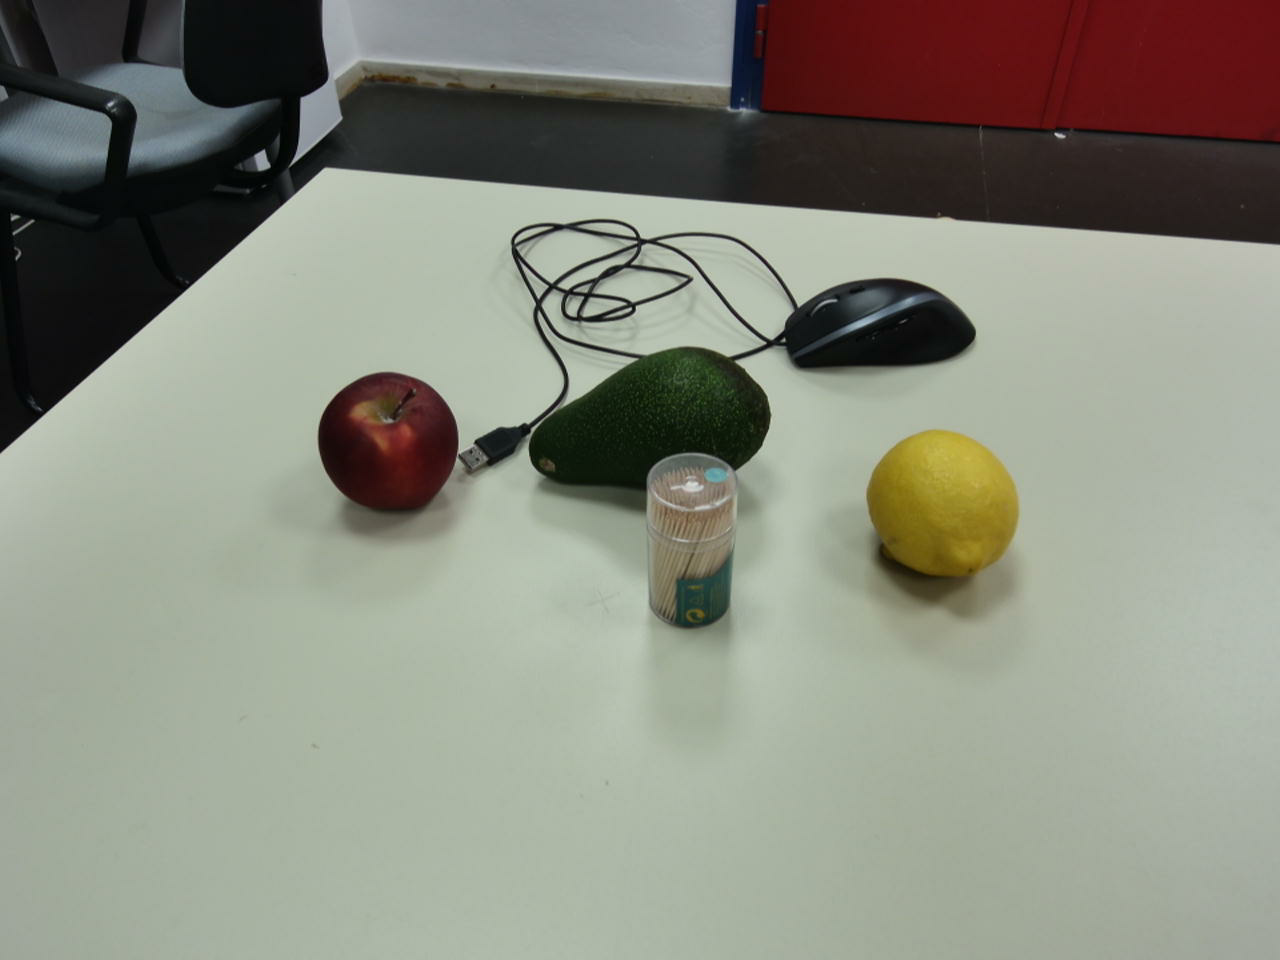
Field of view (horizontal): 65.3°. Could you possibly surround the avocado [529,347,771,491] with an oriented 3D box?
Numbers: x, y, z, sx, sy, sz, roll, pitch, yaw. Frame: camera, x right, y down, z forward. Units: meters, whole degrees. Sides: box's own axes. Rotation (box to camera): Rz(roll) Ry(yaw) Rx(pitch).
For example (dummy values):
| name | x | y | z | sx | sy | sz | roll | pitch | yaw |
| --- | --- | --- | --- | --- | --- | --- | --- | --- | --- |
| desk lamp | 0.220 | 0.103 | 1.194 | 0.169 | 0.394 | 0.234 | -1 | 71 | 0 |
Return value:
| name | x | y | z | sx | sy | sz | roll | pitch | yaw |
| --- | --- | --- | --- | --- | --- | --- | --- | --- | --- |
| avocado | 0.006 | -0.035 | 0.519 | 0.123 | 0.076 | 0.074 | 13 | 40 | 15 |
